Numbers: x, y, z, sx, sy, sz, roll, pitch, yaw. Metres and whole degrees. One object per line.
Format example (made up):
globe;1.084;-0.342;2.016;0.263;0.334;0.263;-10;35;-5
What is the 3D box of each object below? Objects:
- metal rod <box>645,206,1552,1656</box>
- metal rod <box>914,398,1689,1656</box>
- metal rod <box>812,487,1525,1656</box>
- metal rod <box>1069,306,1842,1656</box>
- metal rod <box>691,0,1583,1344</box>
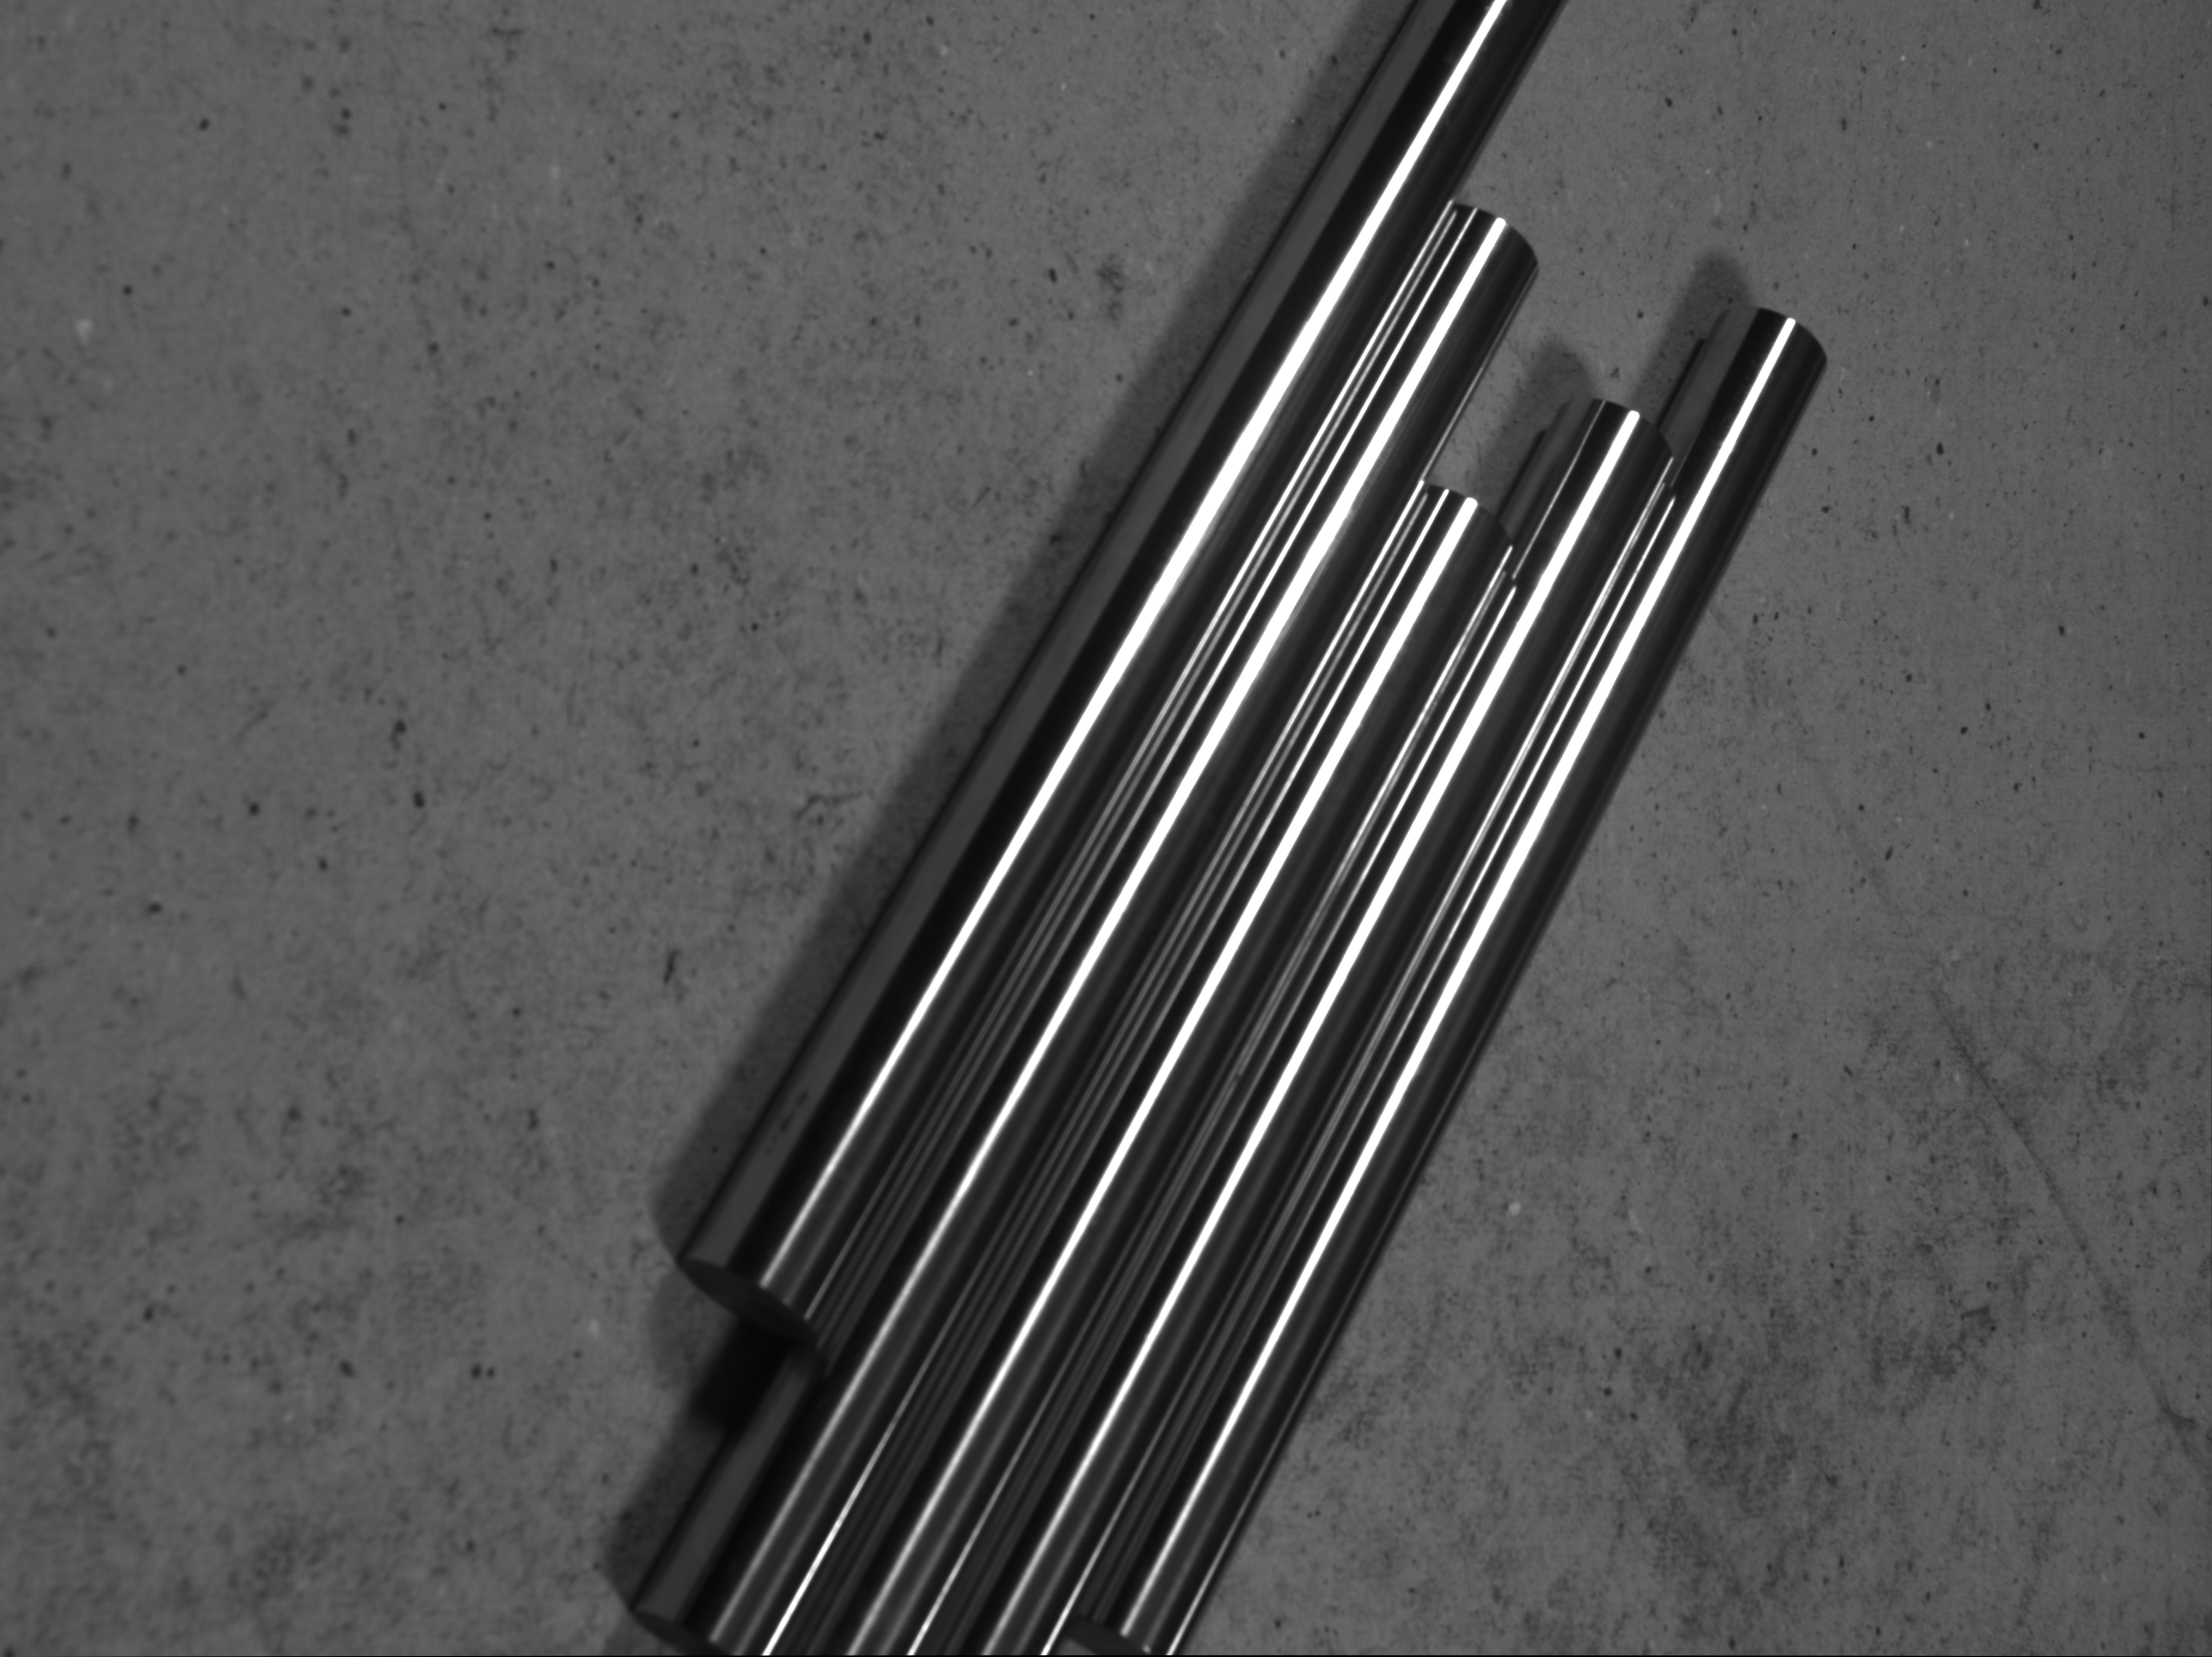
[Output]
metal rod;0.005;0.011;0.642;0.025;0.025;0.300;44;64;-31
metal rod;0.035;0.044;0.666;0.025;0.025;0.300;44;64;-31
metal rod;0.000;0.064;0.637;0.025;0.025;0.300;44;64;-31
metal rod;0.071;0.022;0.696;0.025;0.025;0.300;44;64;-31
metal rod;0.012;-0.044;0.648;0.025;0.025;0.300;44;64;-31
